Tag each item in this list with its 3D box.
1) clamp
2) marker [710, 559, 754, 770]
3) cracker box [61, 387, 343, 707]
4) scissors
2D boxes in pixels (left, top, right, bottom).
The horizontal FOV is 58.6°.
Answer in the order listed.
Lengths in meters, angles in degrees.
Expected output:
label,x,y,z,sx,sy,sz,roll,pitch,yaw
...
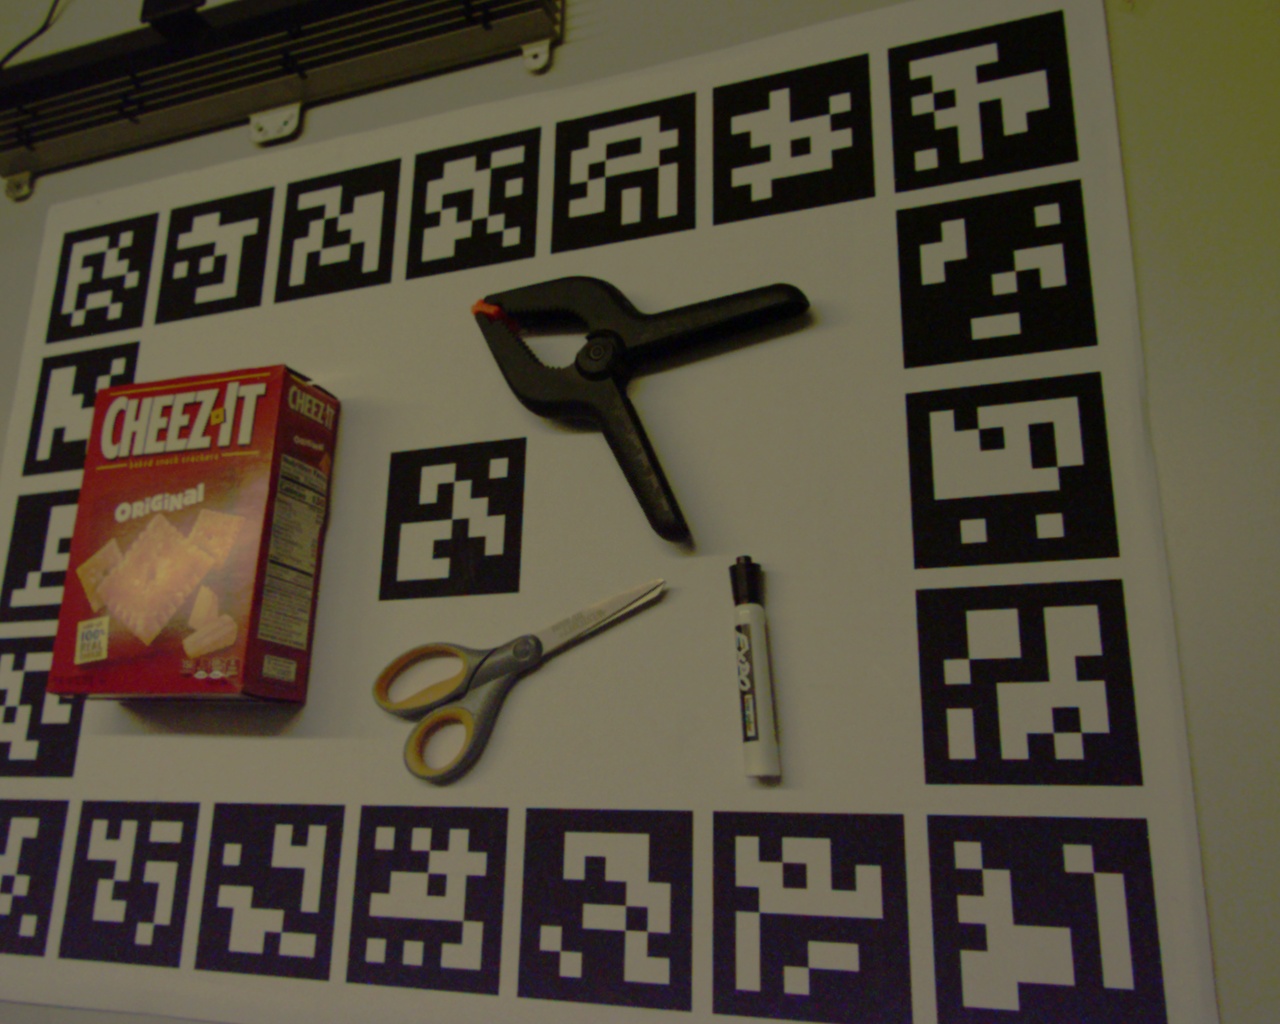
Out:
label,x,y,z,sx,sy,sz,roll,pitch,yaw
clamp,-0.028,-0.090,0.751,0.205,0.036,0.165,27,85,26
marker,0.053,0.086,0.658,0.020,0.019,0.121,-9,71,20
cracker box,-0.305,0.027,0.799,0.166,0.071,0.214,-4,73,22
scissors,-0.080,0.093,0.713,0.203,0.015,0.088,-32,64,8
